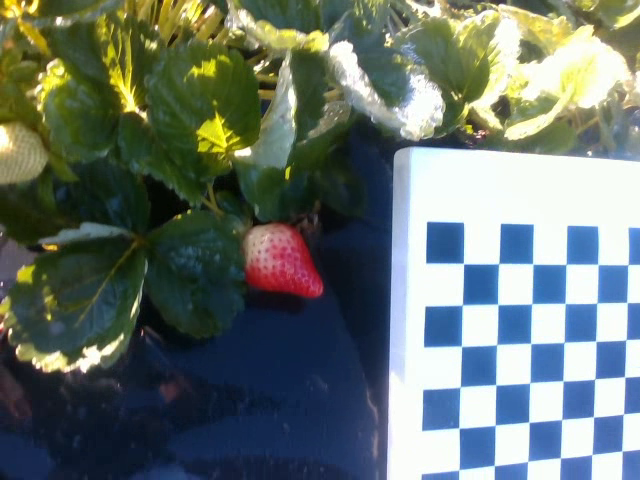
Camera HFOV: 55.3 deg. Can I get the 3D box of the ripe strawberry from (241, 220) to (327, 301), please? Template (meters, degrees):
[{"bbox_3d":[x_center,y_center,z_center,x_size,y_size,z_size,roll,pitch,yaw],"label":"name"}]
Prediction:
[{"bbox_3d":[-0.022,0.020,0.362,0.065,0.040,0.040,43,-14,-14],"label":"ripe strawberry"}]
